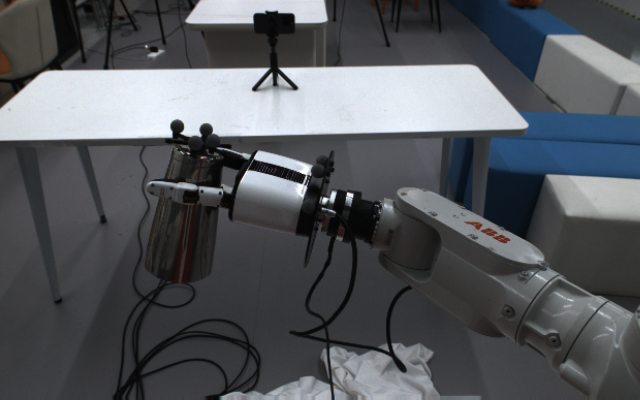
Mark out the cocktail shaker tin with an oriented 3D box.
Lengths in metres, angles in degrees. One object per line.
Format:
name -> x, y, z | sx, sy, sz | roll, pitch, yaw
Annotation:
cocktail shaker tin -> -0.175, 0.011, 0.649 | 0.093, 0.170, 0.093 | 14, 19, -5
